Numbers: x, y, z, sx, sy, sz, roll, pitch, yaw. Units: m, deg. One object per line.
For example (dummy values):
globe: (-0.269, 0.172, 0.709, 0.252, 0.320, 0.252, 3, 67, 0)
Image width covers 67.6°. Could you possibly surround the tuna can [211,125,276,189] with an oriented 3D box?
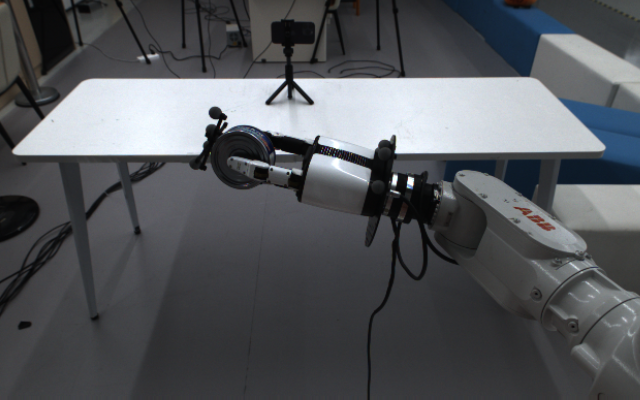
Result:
tuna can: (-0.105, -0.060, 0.672, 0.085, 0.085, 0.034, 6, 20, 5)
